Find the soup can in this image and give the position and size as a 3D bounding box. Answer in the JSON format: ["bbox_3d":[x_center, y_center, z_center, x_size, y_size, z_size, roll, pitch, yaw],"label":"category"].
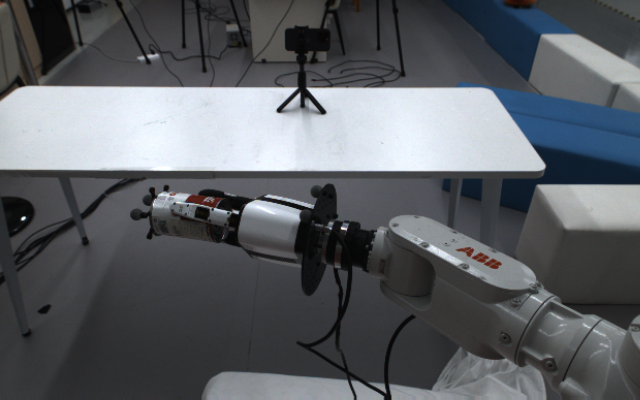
[{"bbox_3d":[-0.190,0.025,0.721,0.101,0.067,0.067,6,35,11],"label":"soup can"}]
